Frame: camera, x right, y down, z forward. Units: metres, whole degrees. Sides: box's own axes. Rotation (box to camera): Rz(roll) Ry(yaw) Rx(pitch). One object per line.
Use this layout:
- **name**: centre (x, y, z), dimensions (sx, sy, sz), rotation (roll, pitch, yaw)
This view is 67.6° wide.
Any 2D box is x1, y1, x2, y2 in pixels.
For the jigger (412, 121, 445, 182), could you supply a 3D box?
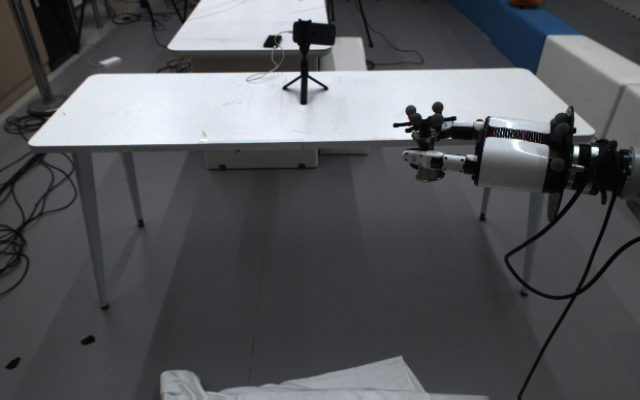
- **jigger**: centre (0.161, -0.069, 0.723), dimensions (0.043, 0.071, 0.043), rotation (-11, 23, 5)
